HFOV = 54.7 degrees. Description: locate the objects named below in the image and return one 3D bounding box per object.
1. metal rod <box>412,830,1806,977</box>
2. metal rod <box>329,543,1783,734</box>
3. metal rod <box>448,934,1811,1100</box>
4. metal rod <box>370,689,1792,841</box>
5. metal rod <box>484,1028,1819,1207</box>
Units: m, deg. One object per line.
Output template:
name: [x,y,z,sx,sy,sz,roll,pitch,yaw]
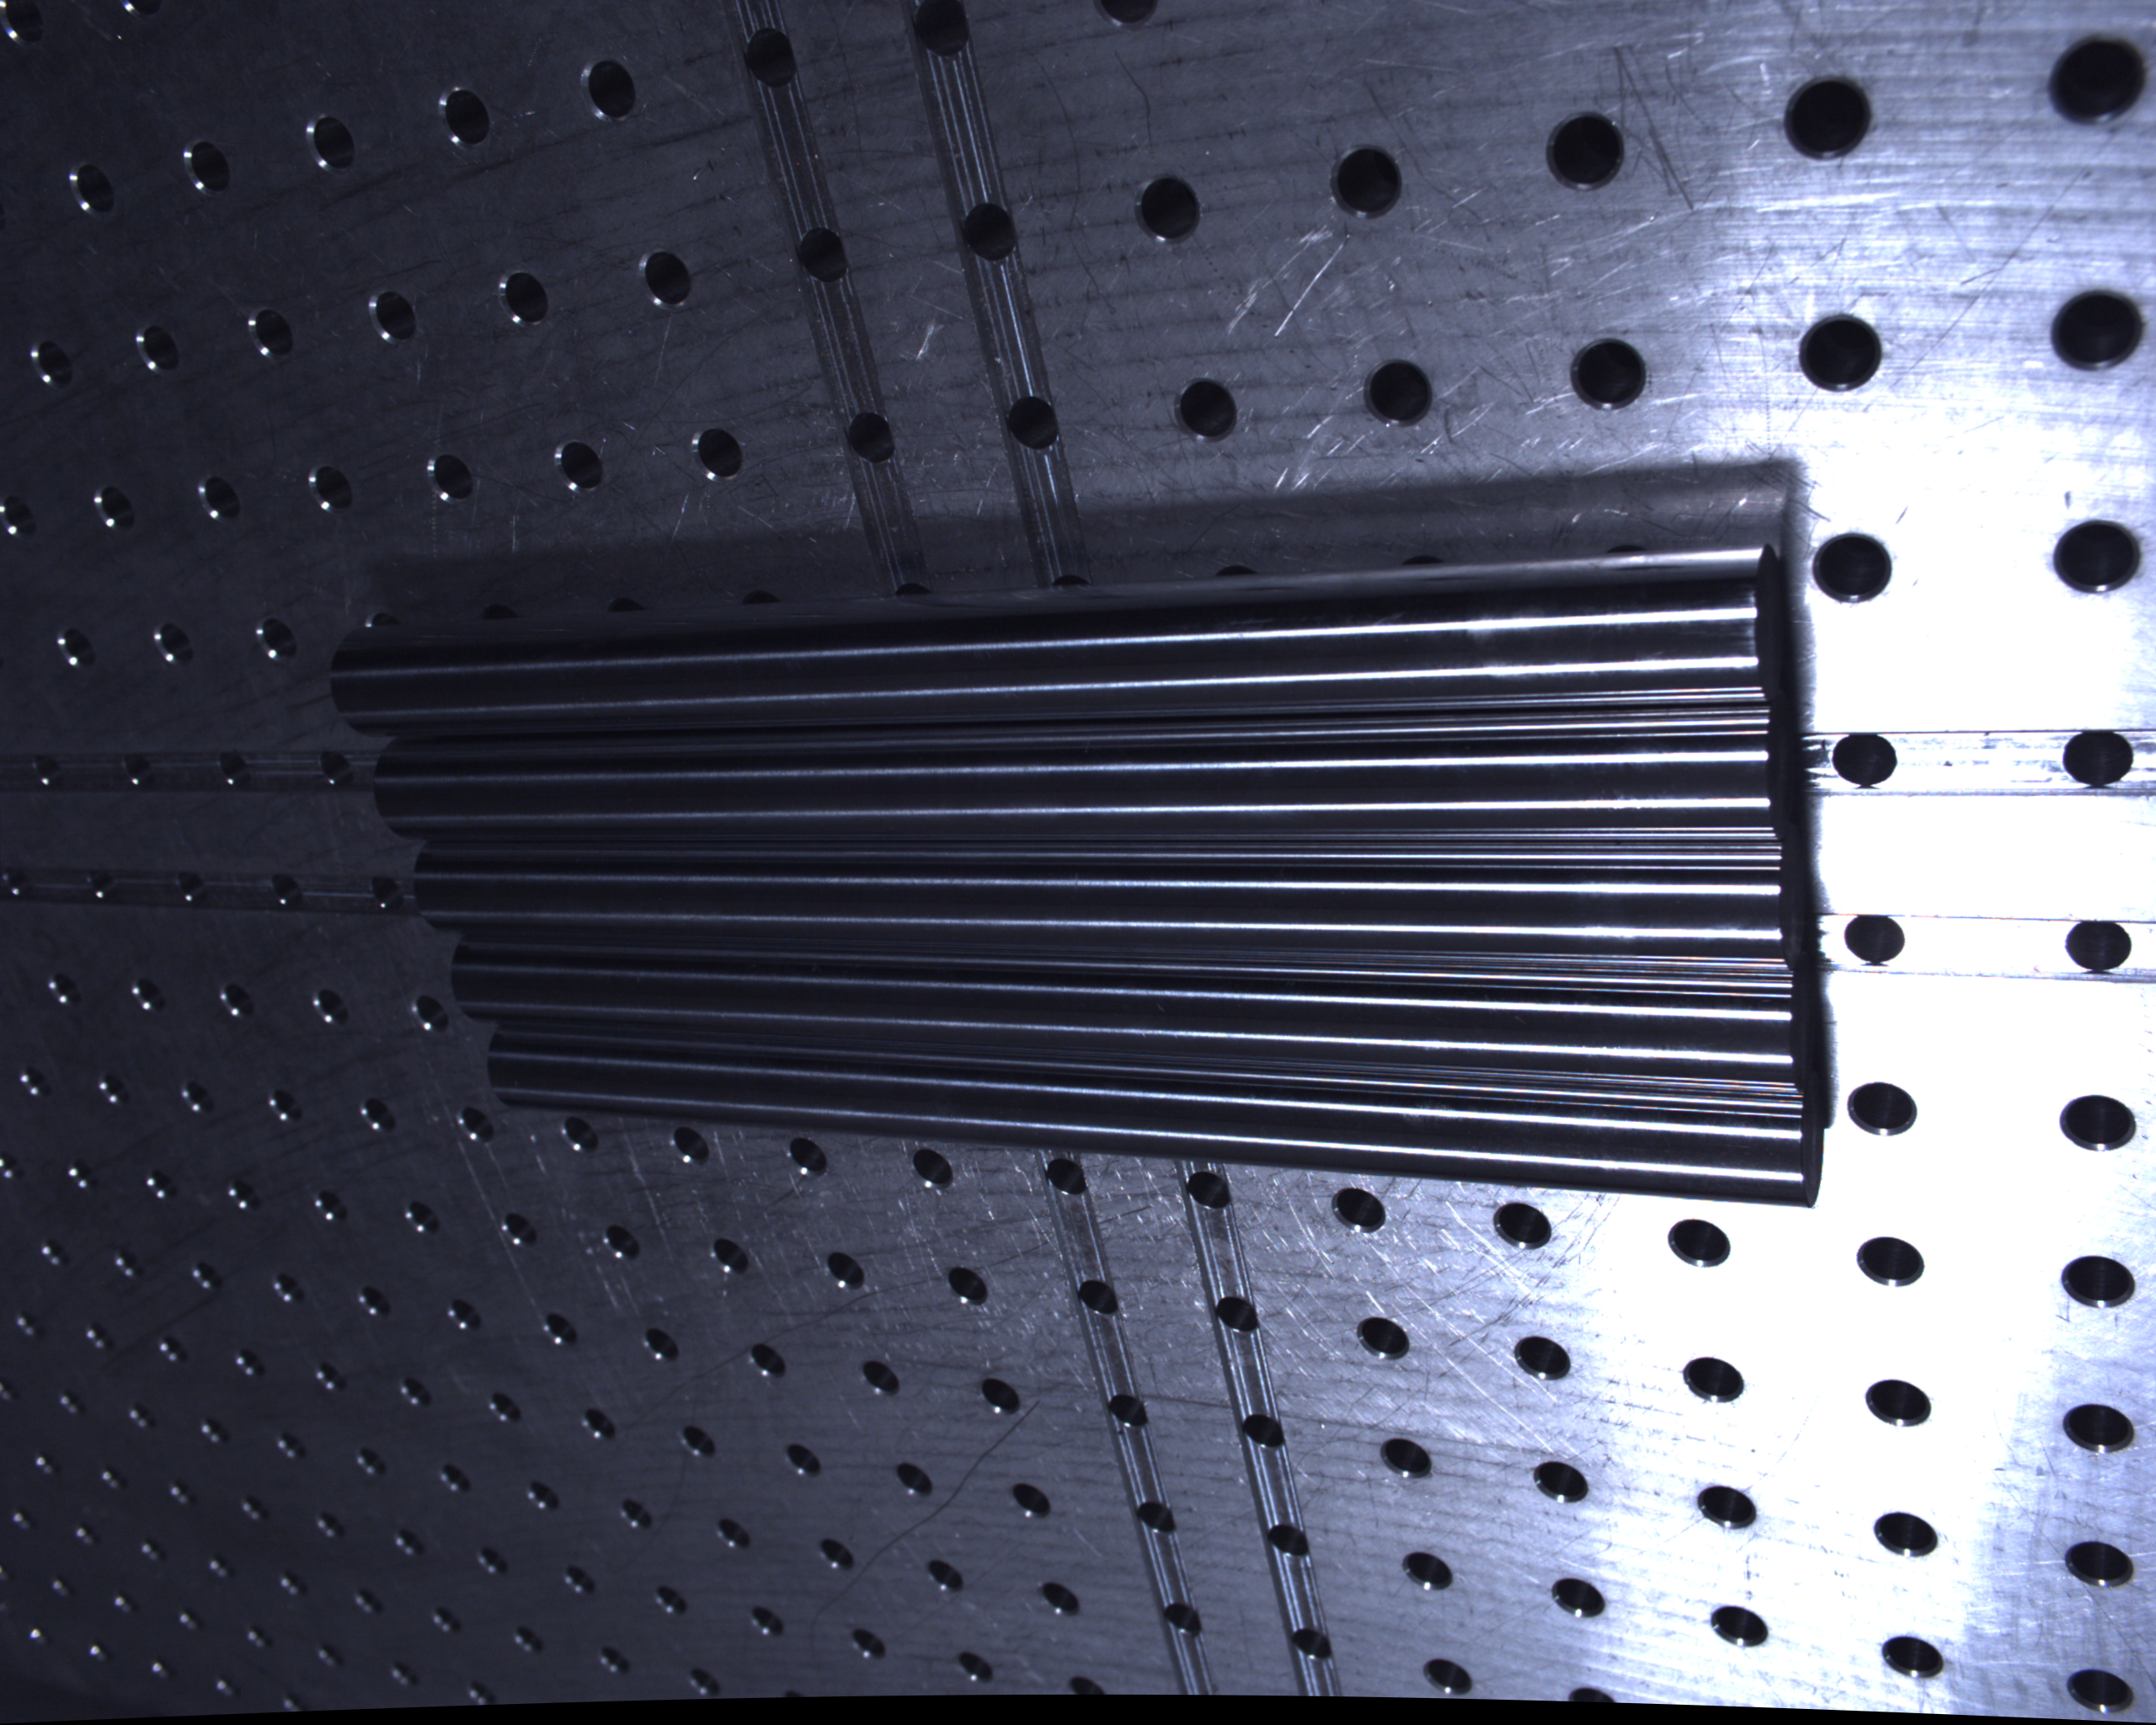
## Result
metal rod: [-0.013,0.005,0.420,0.301,0.025,0.025,1,119,27]
metal rod: [-0.024,-0.039,0.398,0.301,0.025,0.025,1,119,27]
metal rod: [-0.008,0.027,0.431,0.301,0.025,0.025,1,119,27]
metal rod: [-0.019,-0.017,0.409,0.301,0.025,0.025,1,119,27]
metal rod: [-0.003,0.048,0.441,0.300,0.025,0.025,0,119,27]
